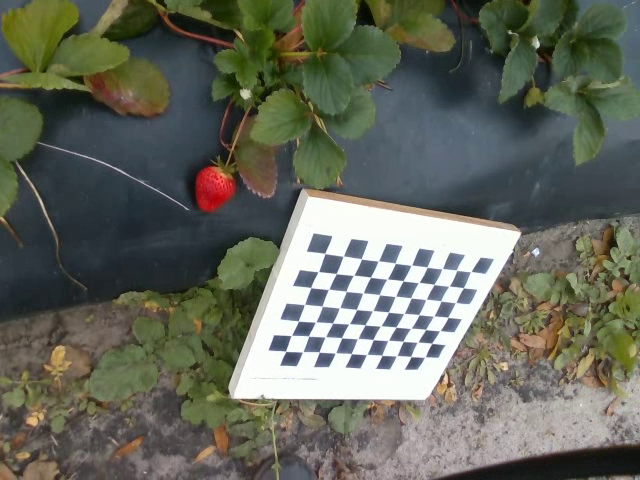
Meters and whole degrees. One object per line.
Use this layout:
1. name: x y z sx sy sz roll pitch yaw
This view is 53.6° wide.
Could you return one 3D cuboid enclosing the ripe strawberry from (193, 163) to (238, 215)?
1. ripe strawberry: -0.067 -0.031 0.392 0.028 0.033 0.022 26 17 -29
